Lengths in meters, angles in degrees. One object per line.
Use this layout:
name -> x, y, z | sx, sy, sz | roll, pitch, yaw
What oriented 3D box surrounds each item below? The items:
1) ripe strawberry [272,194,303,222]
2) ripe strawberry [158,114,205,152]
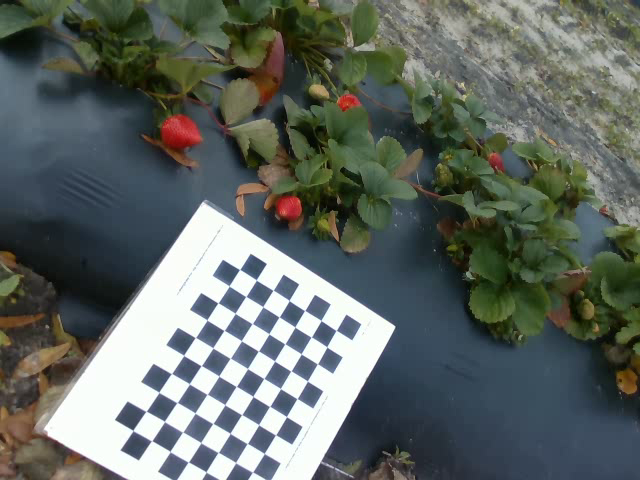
ripe strawberry -> -0.040, -0.037, 0.756 | 0.037, 0.041, 0.042 | -41, 11, 23
ripe strawberry -> -0.161, -0.127, 0.723 | 0.065, 0.047, 0.043 | 25, -18, 38
